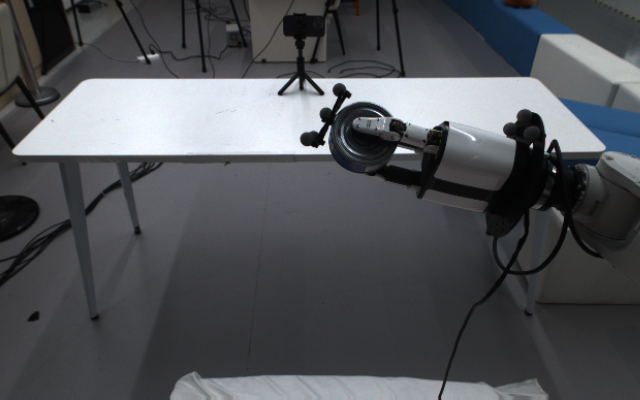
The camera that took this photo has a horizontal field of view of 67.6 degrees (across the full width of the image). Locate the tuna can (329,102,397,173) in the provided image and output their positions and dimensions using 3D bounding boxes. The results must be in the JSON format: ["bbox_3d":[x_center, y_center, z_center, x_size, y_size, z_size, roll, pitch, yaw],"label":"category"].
[{"bbox_3d":[0.057,-0.080,0.608,0.085,0.034,0.085,1,75,-5],"label":"tuna can"}]
